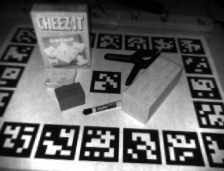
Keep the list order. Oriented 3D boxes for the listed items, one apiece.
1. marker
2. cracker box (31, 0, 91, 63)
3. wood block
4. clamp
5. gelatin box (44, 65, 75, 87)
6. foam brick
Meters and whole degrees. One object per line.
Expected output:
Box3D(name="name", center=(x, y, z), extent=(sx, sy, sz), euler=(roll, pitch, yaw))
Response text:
Box3D(name="marker", center=(-0.050, 0.064, 0.656), extent=(0.122, 0.020, 0.019), euler=(-13, 55, -13))
Box3D(name="cracker box", center=(-0.153, -0.170, 0.708), extent=(0.164, 0.214, 0.071), euler=(1, 50, -4))
Box3D(name="wood block", center=(0.116, 0.002, 0.676), extent=(0.089, 0.091, 0.207), euler=(31, 54, 23))
Box3D(name="clamp", center=(0.085, -0.102, 0.786), extent=(0.204, 0.037, 0.163), euler=(-22, 57, -19))
Box3D(name="gelatin box", center=(-0.174, -0.031, 0.723), extent=(0.089, 0.030, 0.073), euler=(2, 53, -1))
Box3D(name="foam brick", center=(-0.137, 0.026, 0.662), extent=(0.078, 0.051, 0.052), euler=(-17, 56, -15))
